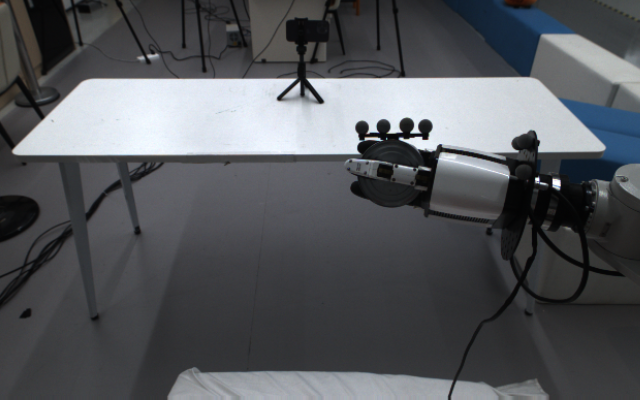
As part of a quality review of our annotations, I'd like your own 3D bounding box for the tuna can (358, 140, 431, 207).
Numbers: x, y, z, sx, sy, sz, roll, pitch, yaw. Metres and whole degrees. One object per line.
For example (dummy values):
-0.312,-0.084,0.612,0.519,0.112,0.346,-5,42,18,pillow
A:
0.094,-0.035,0.619,0.085,0.085,0.034,13,7,15,tuna can
